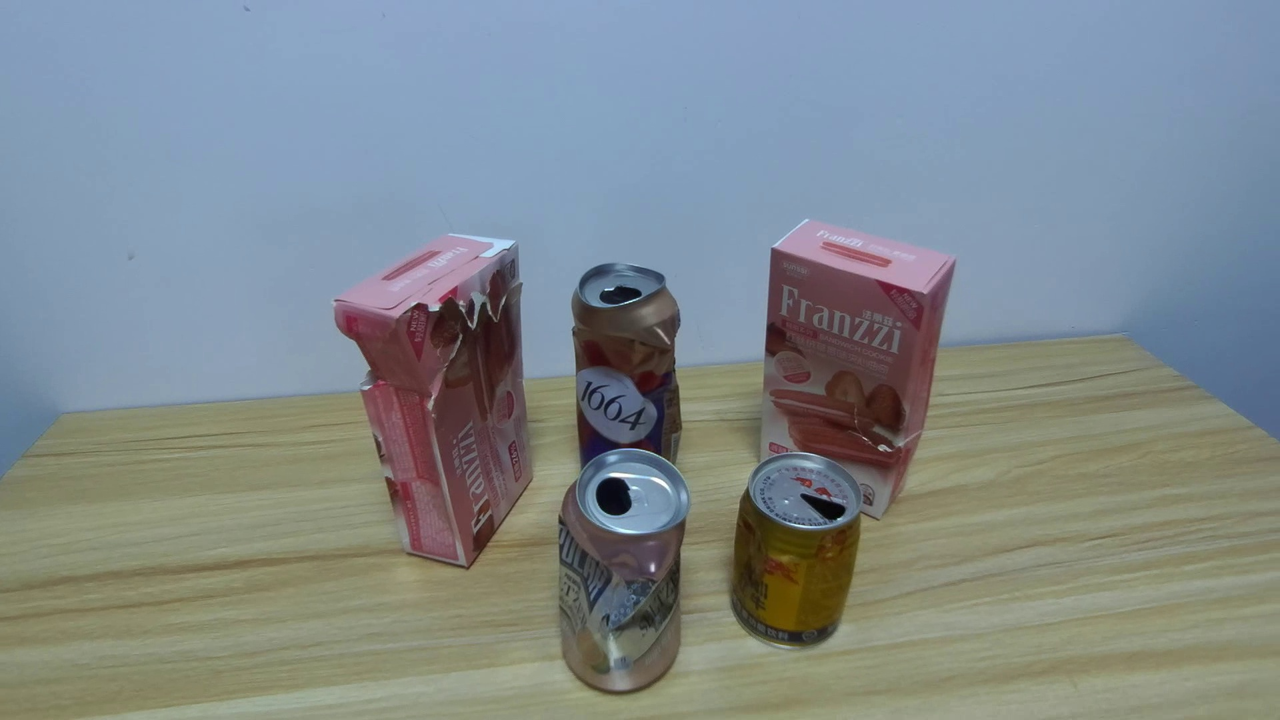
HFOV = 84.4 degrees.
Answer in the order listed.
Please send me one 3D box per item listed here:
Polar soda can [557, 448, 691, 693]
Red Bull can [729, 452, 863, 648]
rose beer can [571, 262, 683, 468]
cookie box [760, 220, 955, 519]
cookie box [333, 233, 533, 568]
[{"bbox_3d":[-0.005,0.112,0.363,0.067,0.122,0.070,-5,32,-17],"label":"Polar soda can"},{"bbox_3d":[0.087,0.106,0.394,0.069,0.092,0.069,0,32,0],"label":"Red Bull can"},{"bbox_3d":[-0.009,0.019,0.468,0.073,0.162,0.068,0,33,3],"label":"rose beer can"},{"bbox_3d":[0.136,0.014,0.457,0.104,0.188,0.049,23,45,31],"label":"cookie box"},{"bbox_3d":[-0.110,0.028,0.435,0.059,0.186,0.105,10,34,19],"label":"cookie box"}]
